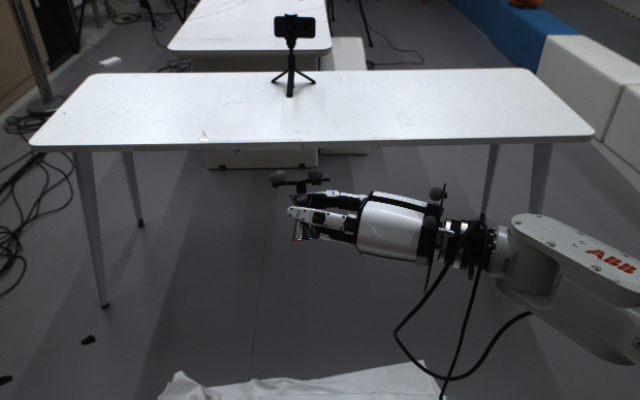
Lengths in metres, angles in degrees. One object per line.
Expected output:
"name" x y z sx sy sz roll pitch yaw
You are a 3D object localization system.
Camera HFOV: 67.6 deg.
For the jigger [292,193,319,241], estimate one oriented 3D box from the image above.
"jigger" -0.025 0.024 0.720 0.043 0.071 0.043 -4 1 0
